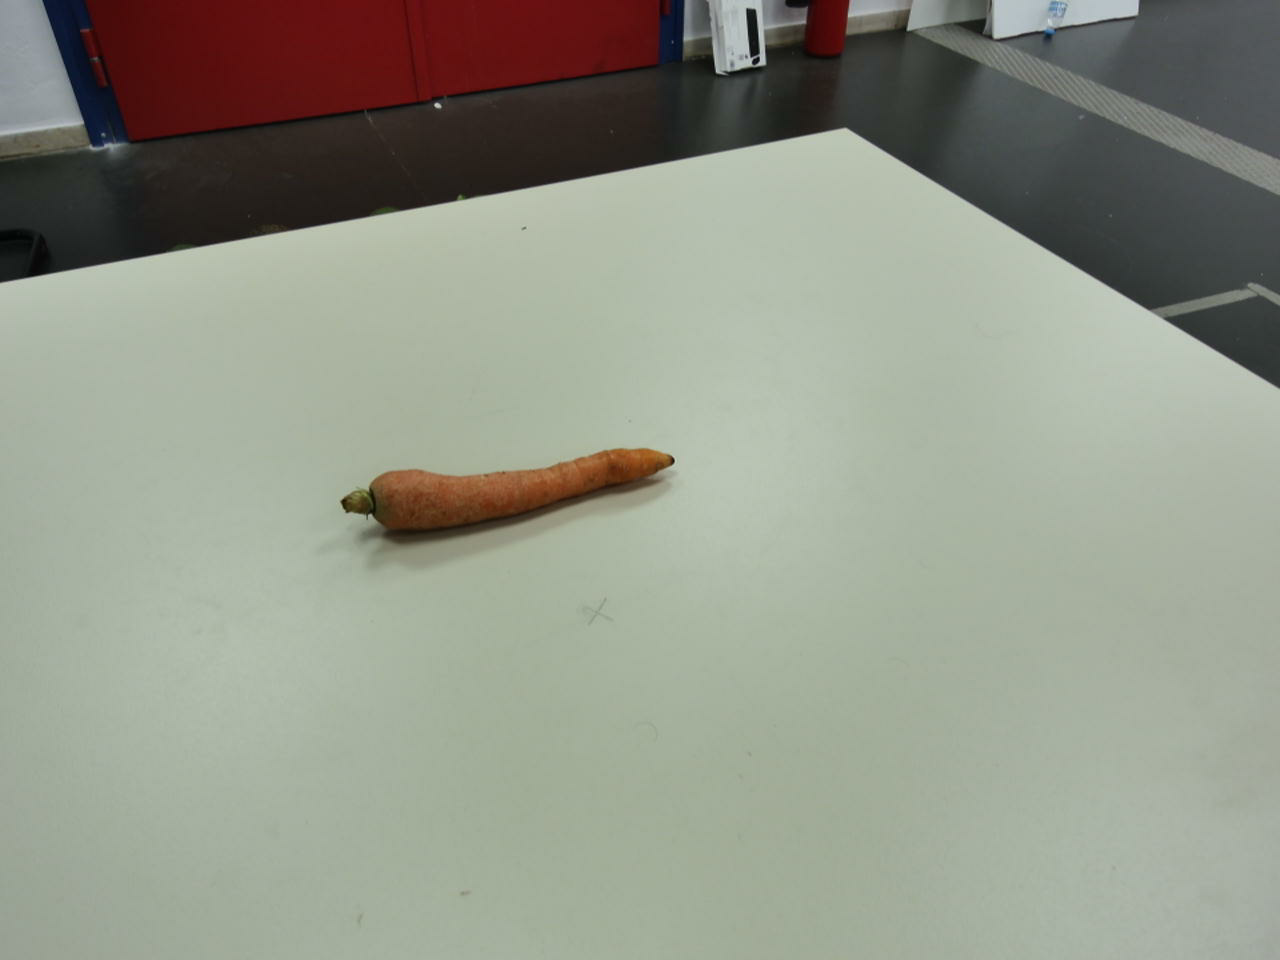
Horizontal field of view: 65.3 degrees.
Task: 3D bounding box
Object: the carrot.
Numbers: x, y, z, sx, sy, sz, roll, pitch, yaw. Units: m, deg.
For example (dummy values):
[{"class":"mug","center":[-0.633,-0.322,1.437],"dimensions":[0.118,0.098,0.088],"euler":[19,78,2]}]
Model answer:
[{"class":"carrot","center":[-0.062,0.001,0.508],"dimensions":[0.173,0.032,0.030],"euler":[-10,40,-13]}]
